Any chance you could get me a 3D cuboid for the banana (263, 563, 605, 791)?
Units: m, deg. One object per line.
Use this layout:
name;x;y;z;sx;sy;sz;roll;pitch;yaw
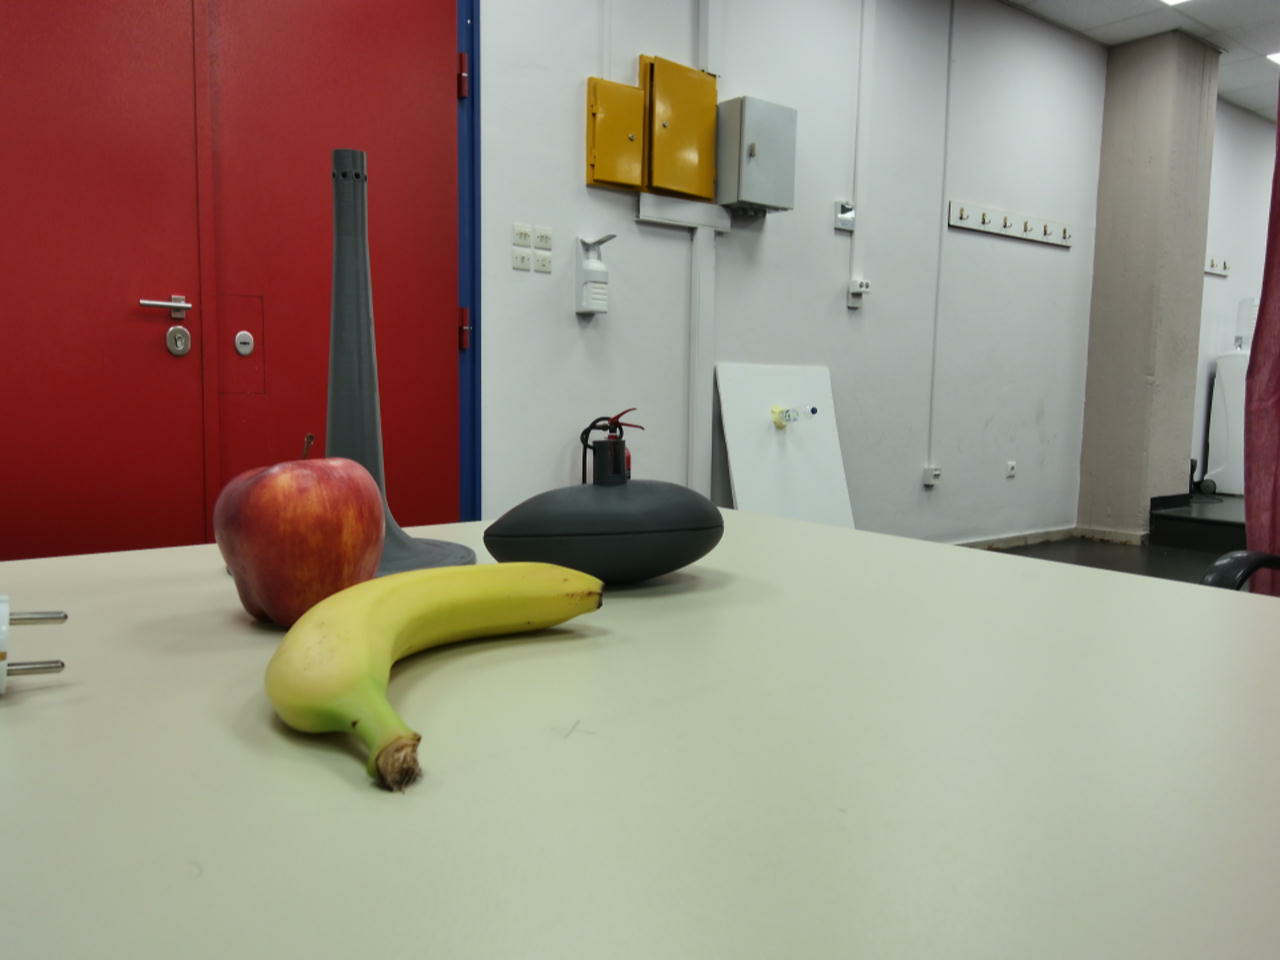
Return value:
banana;-0.085;0.061;0.391;0.094;0.041;0.196;1;4;16
